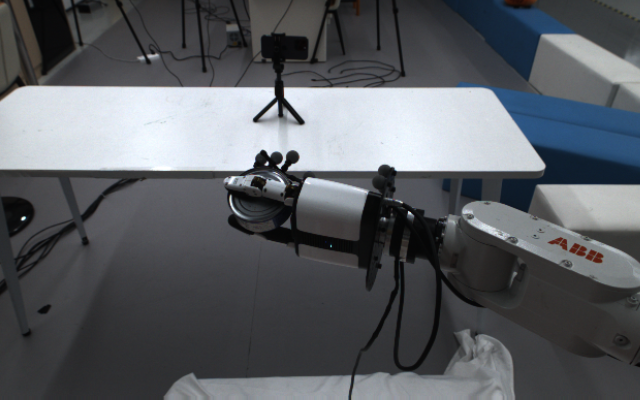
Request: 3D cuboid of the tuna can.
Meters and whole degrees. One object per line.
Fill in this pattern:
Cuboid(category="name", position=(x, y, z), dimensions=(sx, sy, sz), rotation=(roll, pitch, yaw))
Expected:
Cuboid(category="tuna can", position=(-0.077, -0.002, 0.647), dimensions=(0.085, 0.034, 0.085), rotation=(-4, 56, 6))
